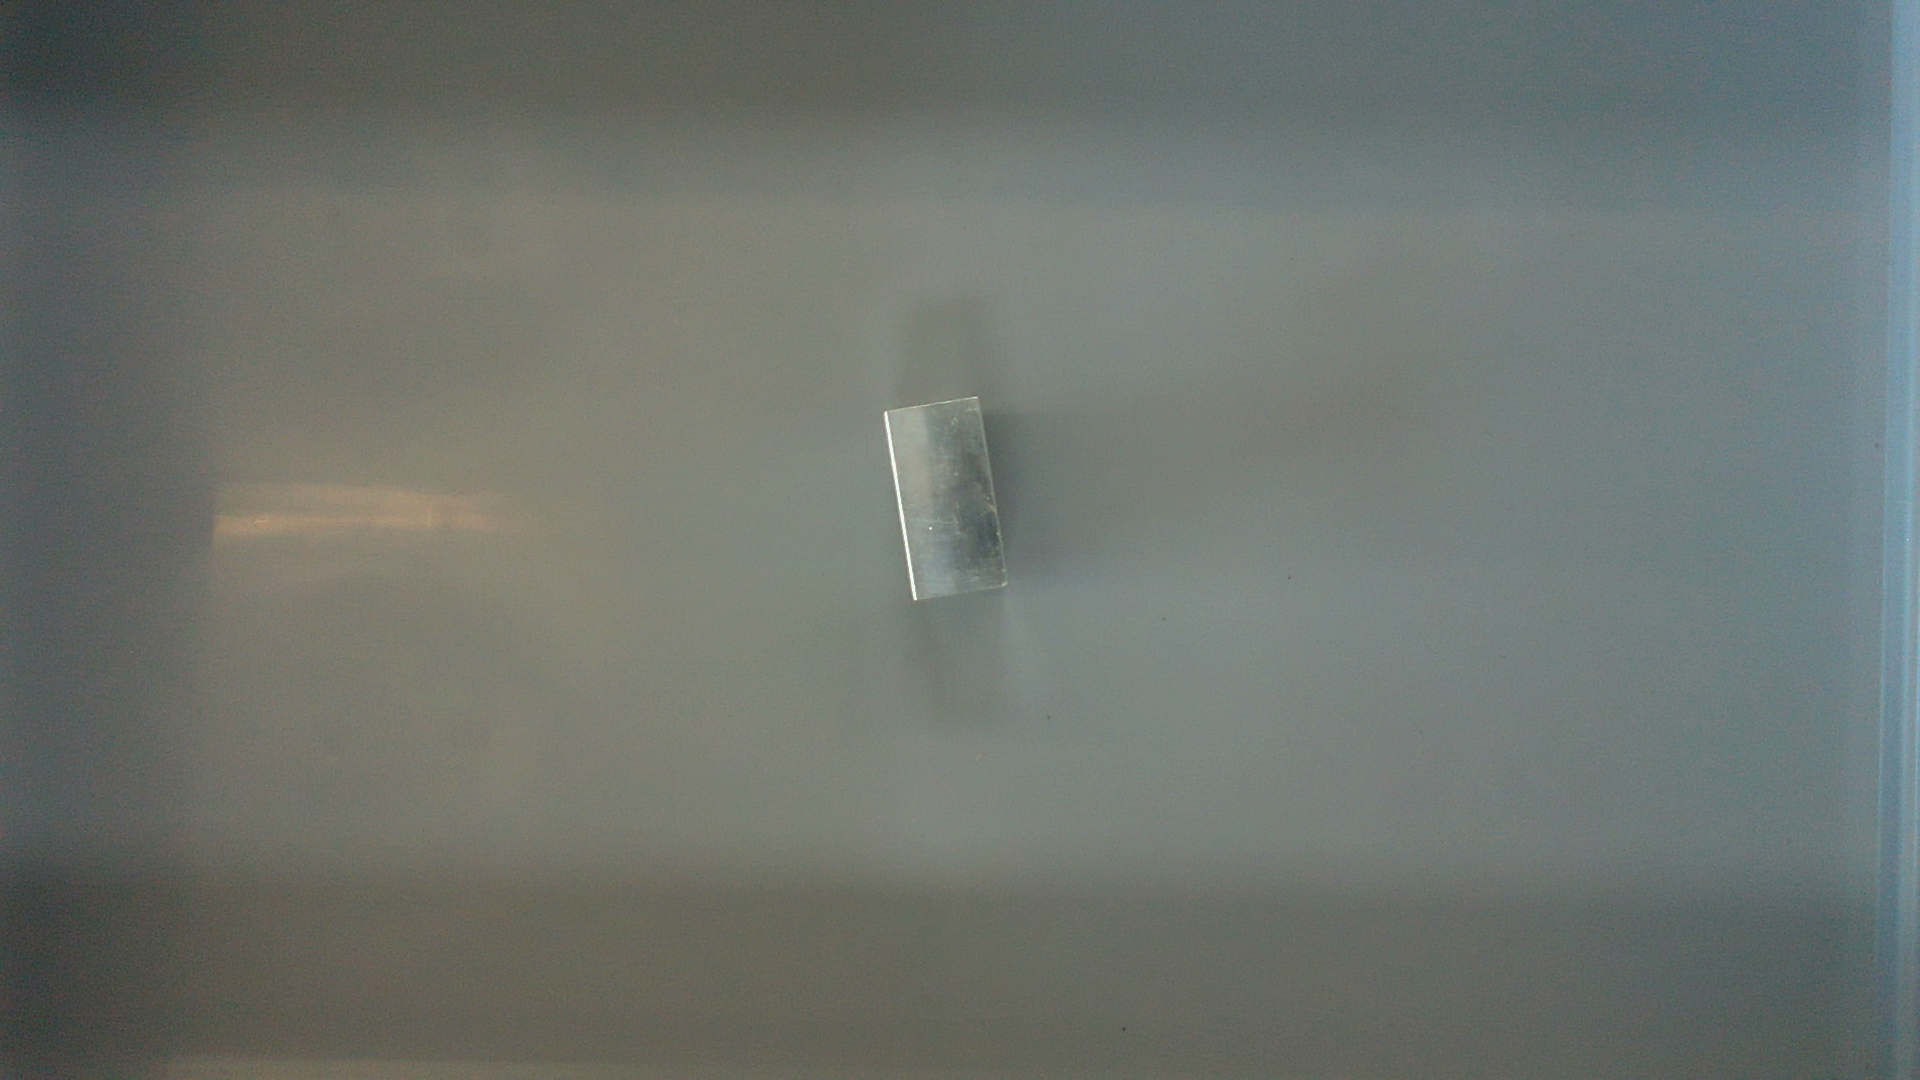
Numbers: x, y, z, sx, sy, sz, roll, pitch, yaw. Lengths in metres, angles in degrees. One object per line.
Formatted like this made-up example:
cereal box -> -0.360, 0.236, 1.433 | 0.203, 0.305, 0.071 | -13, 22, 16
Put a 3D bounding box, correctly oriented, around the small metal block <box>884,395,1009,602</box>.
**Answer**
small metal block -> -0.003, -0.011, 0.380 | 0.025, 0.050, 0.050 | -9, 90, 0
